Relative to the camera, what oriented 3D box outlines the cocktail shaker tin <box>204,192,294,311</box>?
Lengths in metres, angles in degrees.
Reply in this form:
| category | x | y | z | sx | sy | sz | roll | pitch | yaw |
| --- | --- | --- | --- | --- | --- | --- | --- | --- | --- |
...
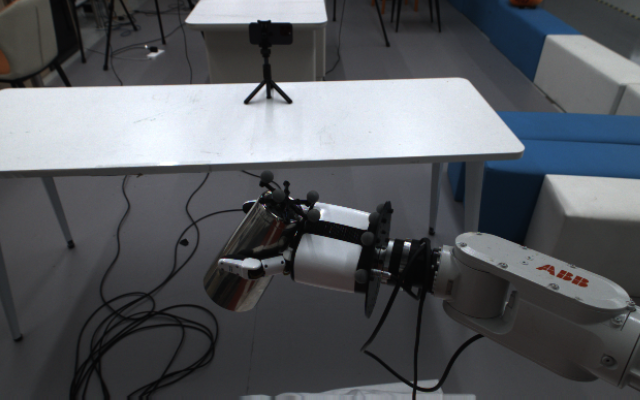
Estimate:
| category | x | y | z | sx | sy | sz | roll | pitch | yaw |
| --- | --- | --- | --- | --- | --- | --- | --- | --- | --- |
| cocktail shaker tin | -0.089 | 0.065 | 0.684 | 0.093 | 0.170 | 0.093 | 26 | 32 | -17 |
